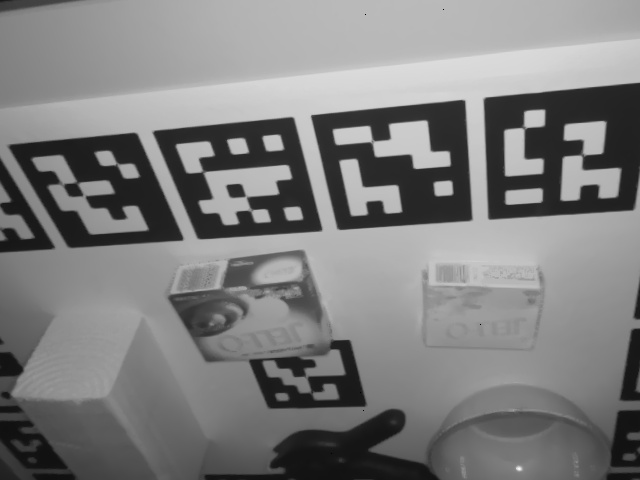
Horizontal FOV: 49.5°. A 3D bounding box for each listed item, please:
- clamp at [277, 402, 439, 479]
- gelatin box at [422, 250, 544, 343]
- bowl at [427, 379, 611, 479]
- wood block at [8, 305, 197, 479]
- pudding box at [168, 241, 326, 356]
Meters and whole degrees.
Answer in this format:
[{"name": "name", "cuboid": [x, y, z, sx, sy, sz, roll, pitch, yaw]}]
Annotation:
[{"name": "clamp", "cuboid": [0.033, 0.217, 0.710, 0.163, 0.037, 0.121, -12, 126, 19]}, {"name": "gelatin box", "cuboid": [0.128, 0.046, 0.555, 0.089, 0.030, 0.072, 2, 127, 6]}, {"name": "bowl", "cuboid": [0.182, 0.181, 0.648, 0.161, 0.056, 0.160, 4, 126, 6]}, {"name": "wood block", "cuboid": [-0.195, 0.167, 0.654, 0.089, 0.092, 0.205, -1, 128, 11]}, {"name": "pudding box", "cuboid": [-0.057, 0.050, 0.578, 0.113, 0.039, 0.089, -6, 123, 9]}]
